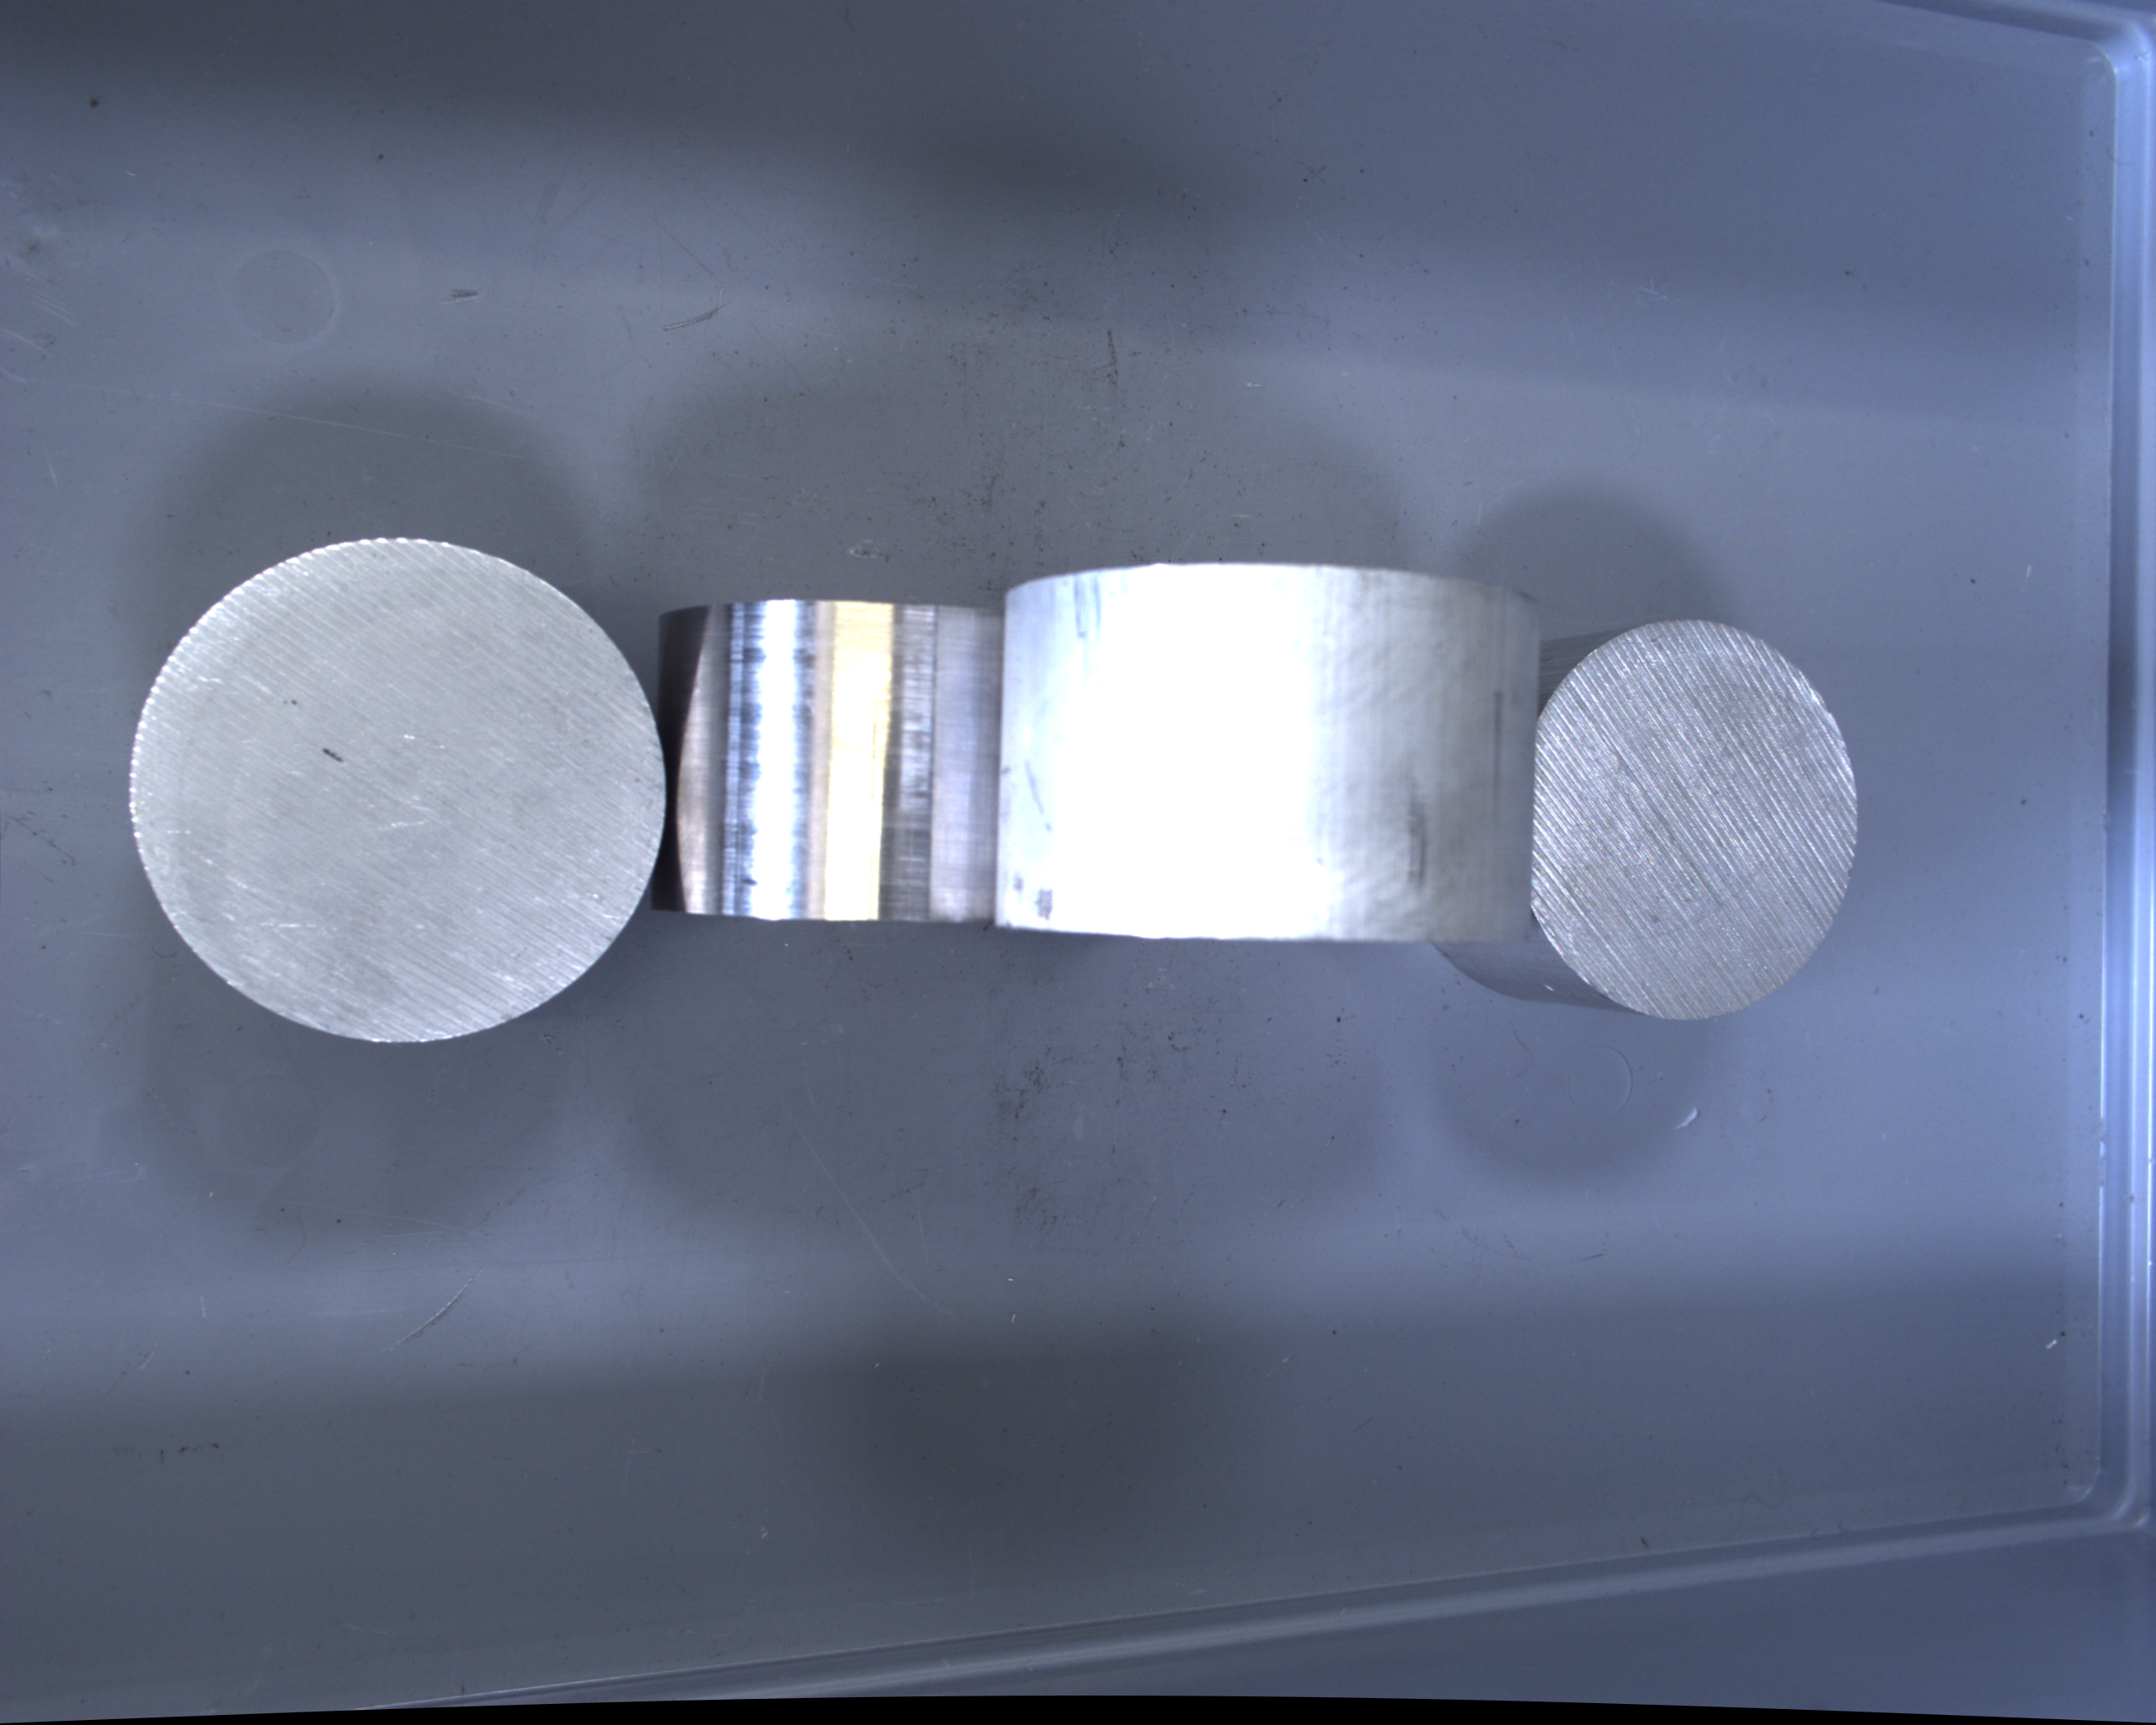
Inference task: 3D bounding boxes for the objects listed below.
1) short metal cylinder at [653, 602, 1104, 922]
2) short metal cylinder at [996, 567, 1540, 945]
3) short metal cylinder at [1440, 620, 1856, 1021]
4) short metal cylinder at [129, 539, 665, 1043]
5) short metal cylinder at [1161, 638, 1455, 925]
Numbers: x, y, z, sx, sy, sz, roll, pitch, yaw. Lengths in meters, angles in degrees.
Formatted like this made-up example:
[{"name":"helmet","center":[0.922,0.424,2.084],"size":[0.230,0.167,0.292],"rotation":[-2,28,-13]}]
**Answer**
[{"name":"short metal cylinder","center":[-0.033,-0.016,0.367],"size":[0.081,0.080,0.050],"rotation":[2,89,-20]},{"name":"short metal cylinder","center":[0.028,-0.014,0.317],"size":[0.081,0.080,0.050],"rotation":[2,89,-20]},{"name":"short metal cylinder","center":[0.113,-0.008,0.437],"size":[0.081,0.050,0.080],"rotation":[0,90,-20]},{"name":"short metal cylinder","center":[-0.114,-0.011,0.353],"size":[0.081,0.050,0.080],"rotation":[0,90,-20]},{"name":"short metal cylinder","center":[0.043,-0.013,0.395],"size":[0.081,0.080,0.050],"rotation":[2,89,-20]}]
